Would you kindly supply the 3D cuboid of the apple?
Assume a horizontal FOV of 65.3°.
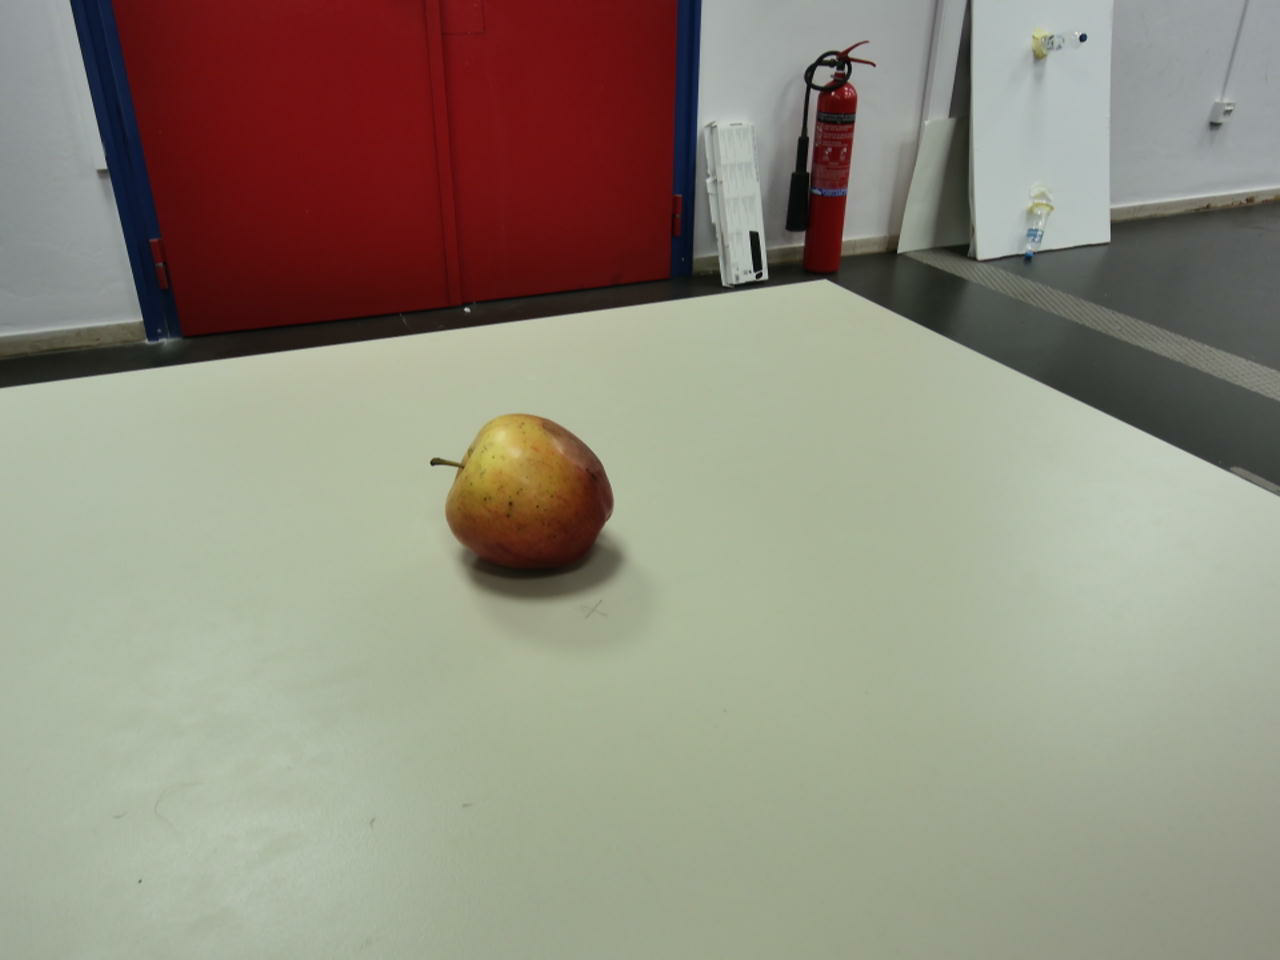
[{"bbox_3d":[-0.063,0.007,0.550,0.093,0.084,0.086,15,29,26],"label":"apple"}]
